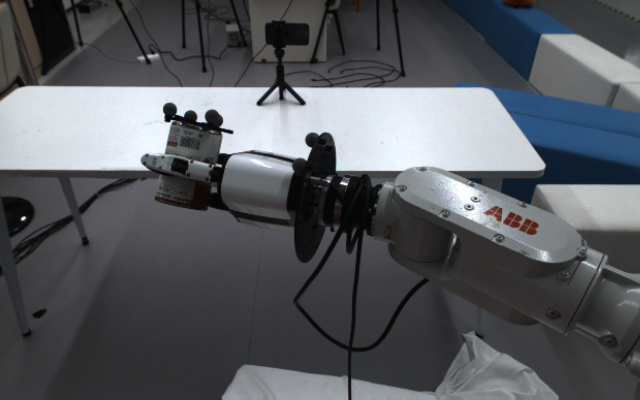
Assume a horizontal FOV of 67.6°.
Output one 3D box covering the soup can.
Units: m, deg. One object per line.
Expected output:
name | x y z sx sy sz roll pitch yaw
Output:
soup can | -0.168 -0.041 0.622 0.067 0.101 0.067 13 0 0
